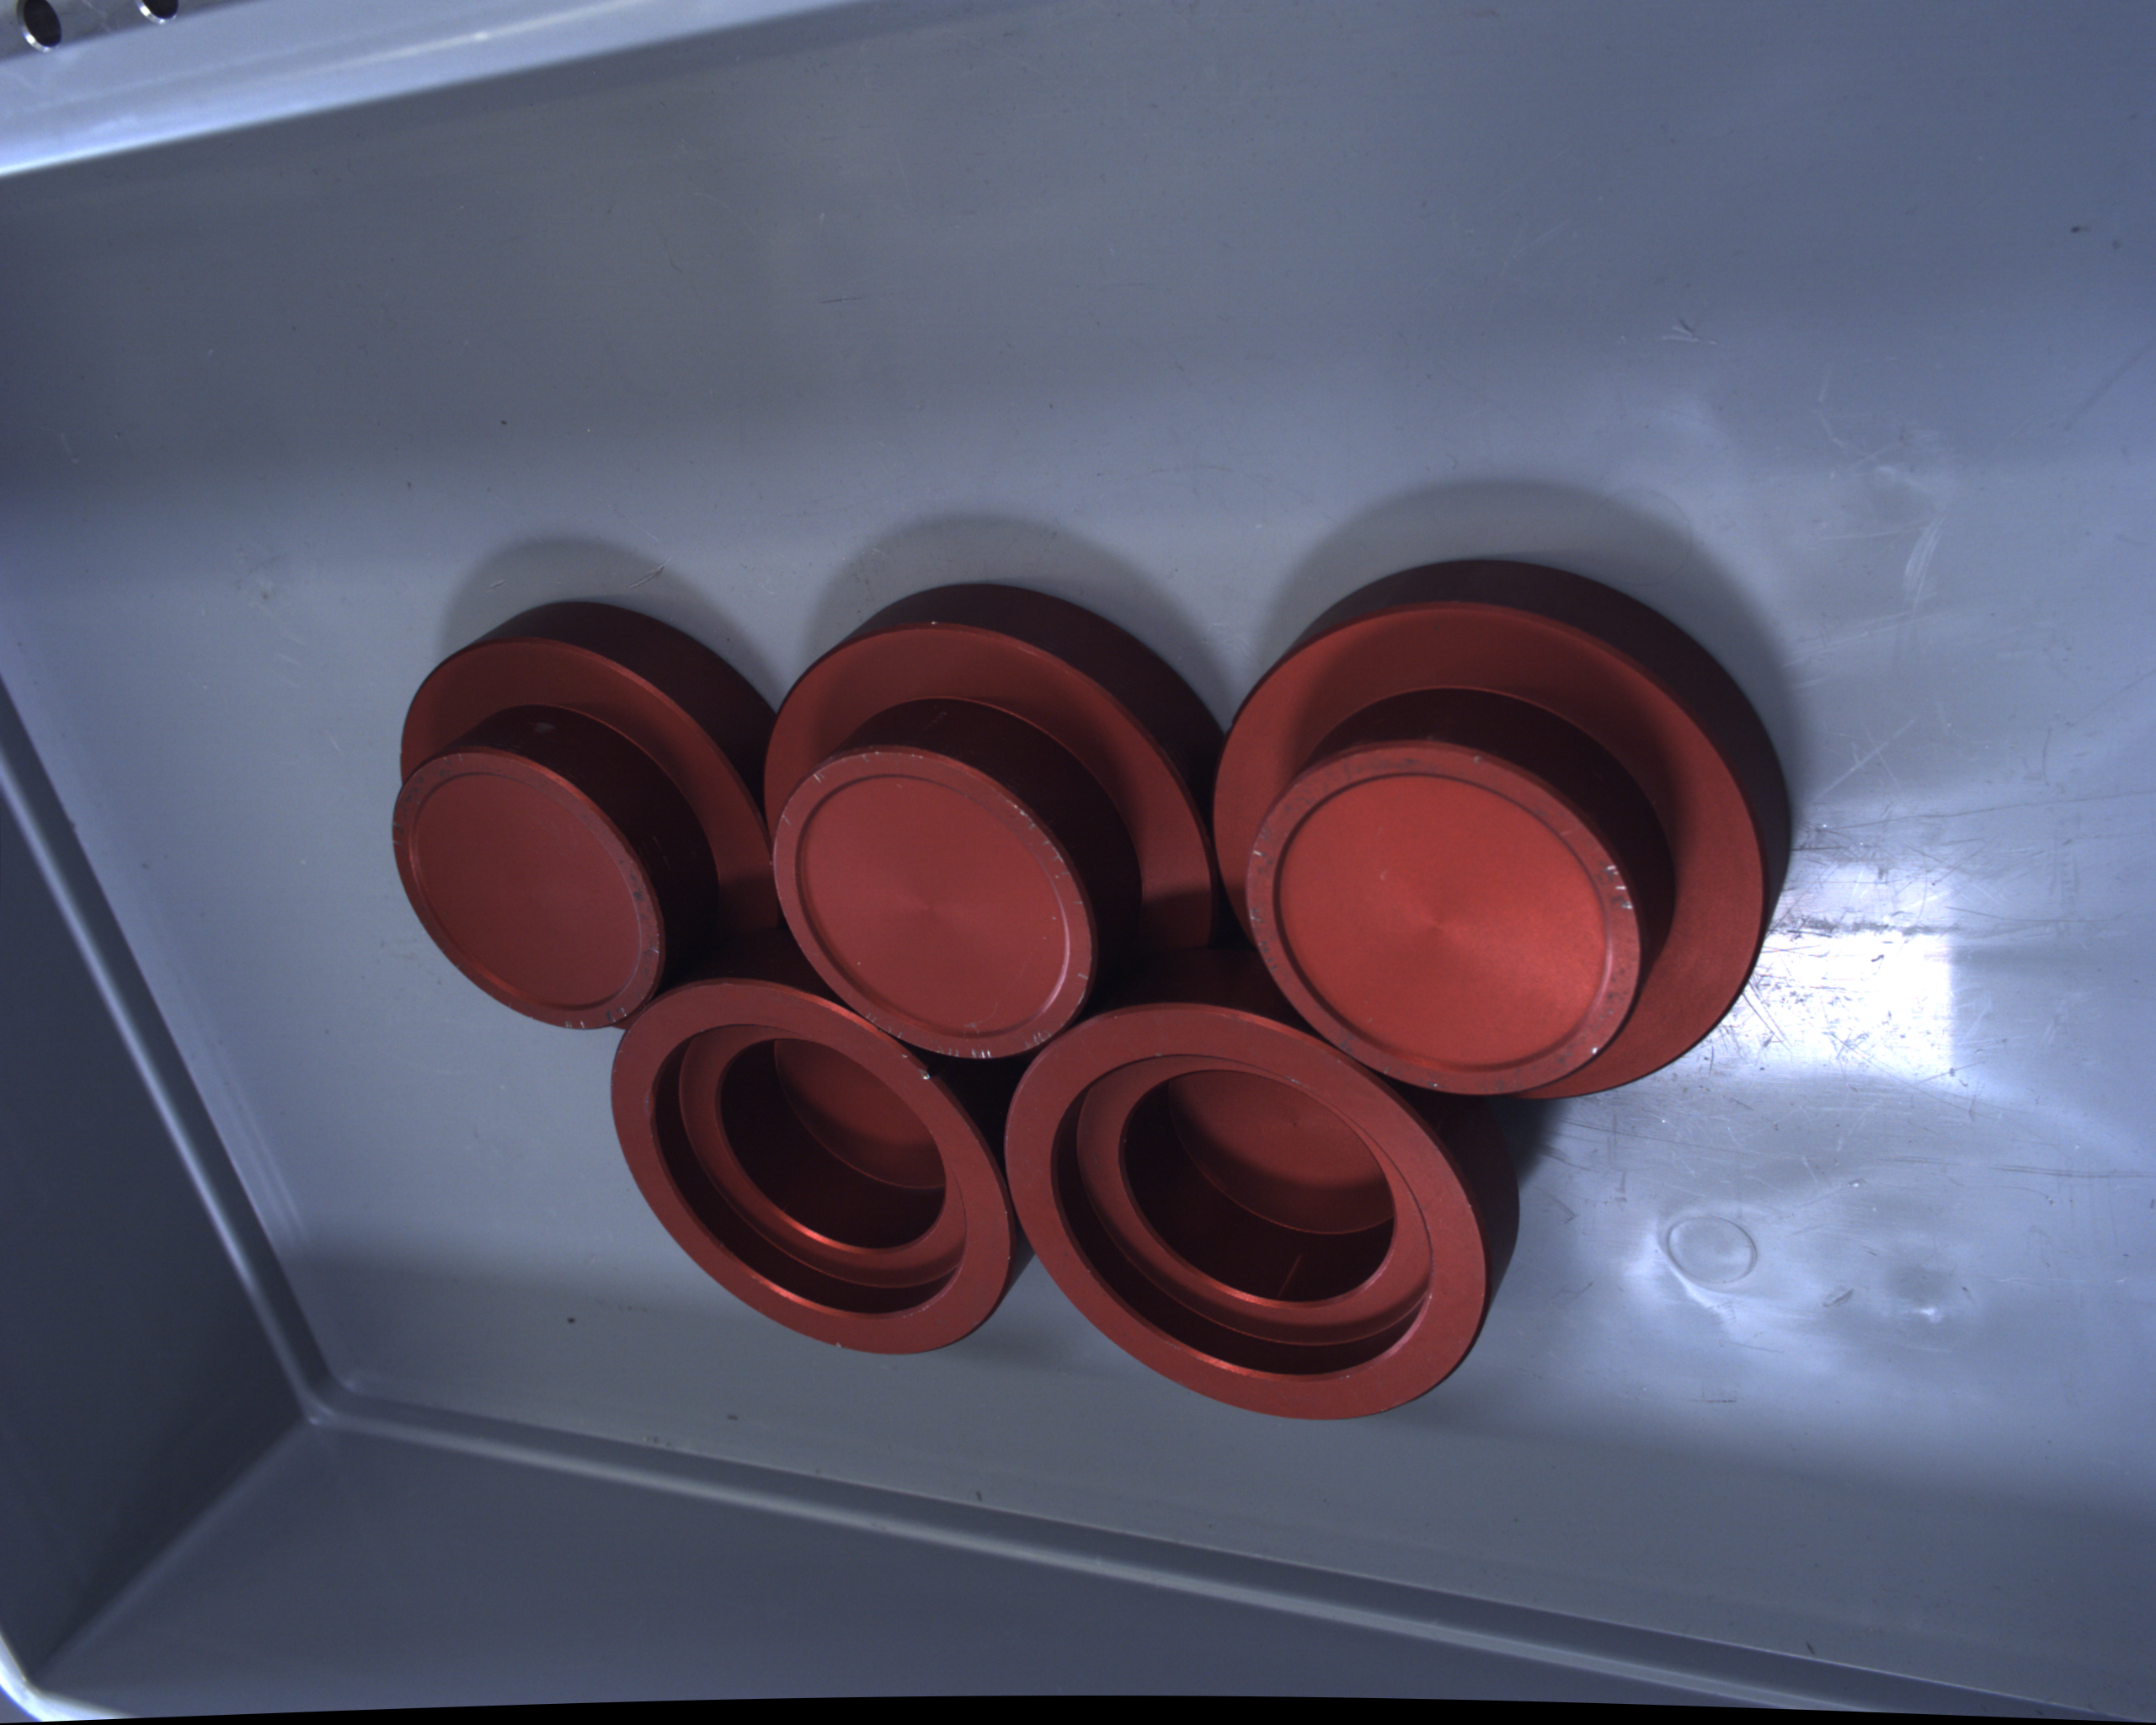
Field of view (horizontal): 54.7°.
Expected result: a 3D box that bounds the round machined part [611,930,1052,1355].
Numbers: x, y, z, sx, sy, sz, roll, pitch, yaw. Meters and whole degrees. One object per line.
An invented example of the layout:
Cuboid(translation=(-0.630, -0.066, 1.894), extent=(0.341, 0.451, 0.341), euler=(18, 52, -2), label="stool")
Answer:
Cuboid(translation=(-0.049, 0.056, 0.456), extent=(0.098, 0.042, 0.097), euler=(13, 124, 21), label="round machined part")

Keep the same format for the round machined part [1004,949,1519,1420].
Cuboid(translation=(0.039, 0.059, 0.411), extent=(0.098, 0.042, 0.097), euler=(13, 124, 21), label="round machined part")

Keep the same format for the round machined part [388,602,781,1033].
Cuboid(translation=(-0.107, -0.003, 0.449), extent=(0.098, 0.042, 0.097), euler=(12, 123, 20), label="round machined part")

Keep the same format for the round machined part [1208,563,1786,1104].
Cuboid(translation=(0.068, 0.001, 0.359), extent=(0.098, 0.042, 0.097), euler=(13, 123, 21), label="round machined part")

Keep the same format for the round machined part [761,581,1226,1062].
Cuboid(translation=(-0.020, -0.002, 0.404), extent=(0.098, 0.042, 0.097), euler=(13, 123, 21), label="round machined part")
